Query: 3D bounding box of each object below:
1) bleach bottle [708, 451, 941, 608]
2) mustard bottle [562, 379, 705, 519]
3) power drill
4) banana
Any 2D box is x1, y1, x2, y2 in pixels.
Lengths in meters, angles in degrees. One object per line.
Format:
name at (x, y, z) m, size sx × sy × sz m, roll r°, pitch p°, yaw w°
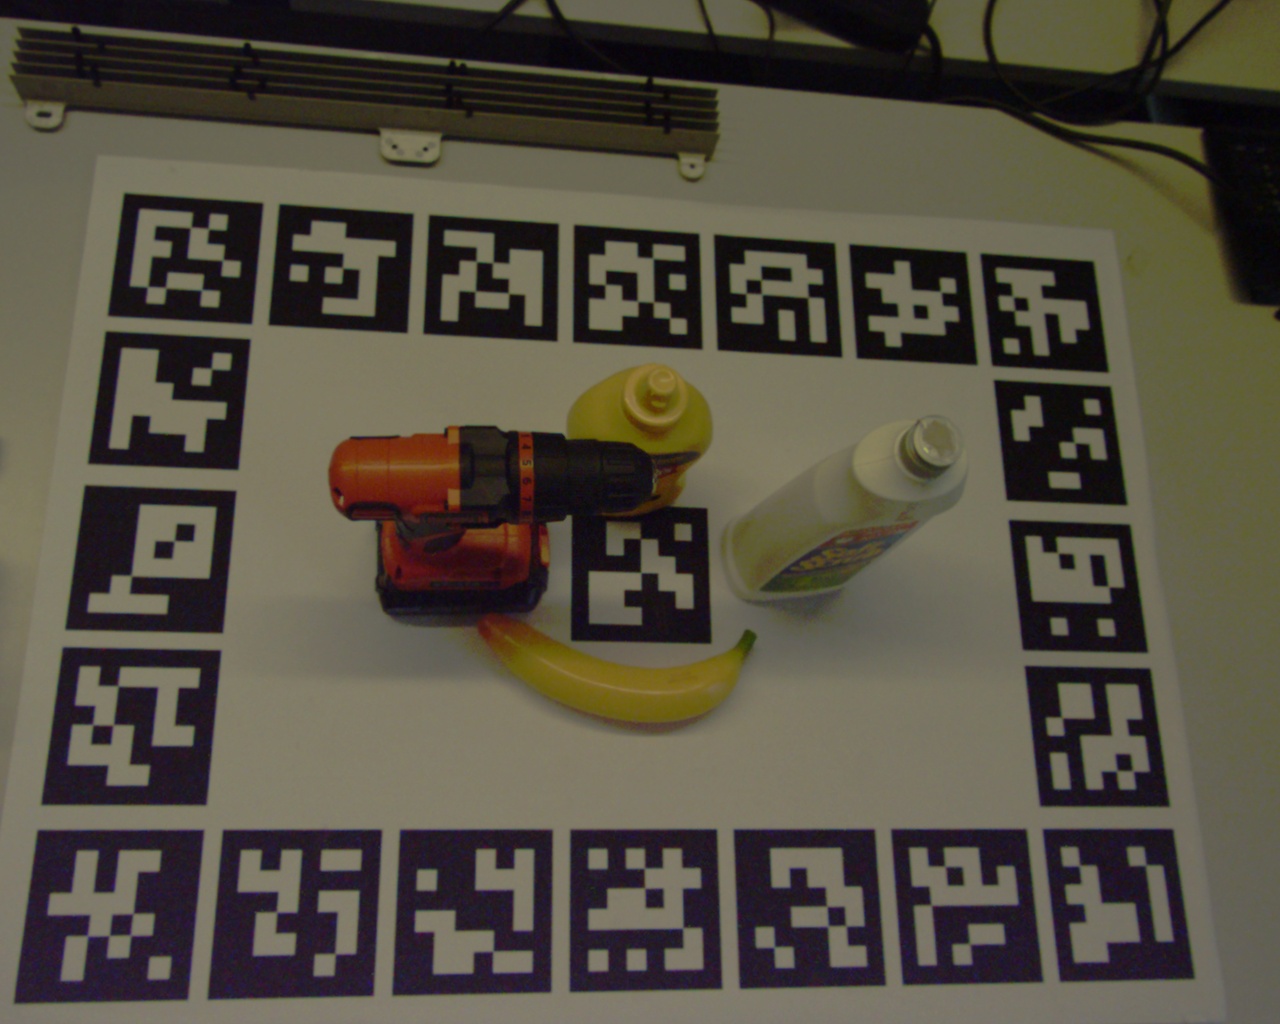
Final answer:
bleach bottle at (0.125, 0.010, 0.768) m, size 0.102 × 0.251 × 0.068 m, roll -6°, pitch 77°, yaw -12°
mustard bottle at (-0.007, -0.046, 0.785) m, size 0.096 × 0.192 × 0.058 m, roll 3°, pitch 74°, yaw -10°
power drill at (-0.104, 0.004, 0.736) m, size 0.183 × 0.187 × 0.057 m, roll 0°, pitch 68°, yaw -12°
banana at (-0.015, 0.112, 0.818) m, size 0.197 × 0.039 × 0.074 m, roll 5°, pitch 78°, yaw -6°
